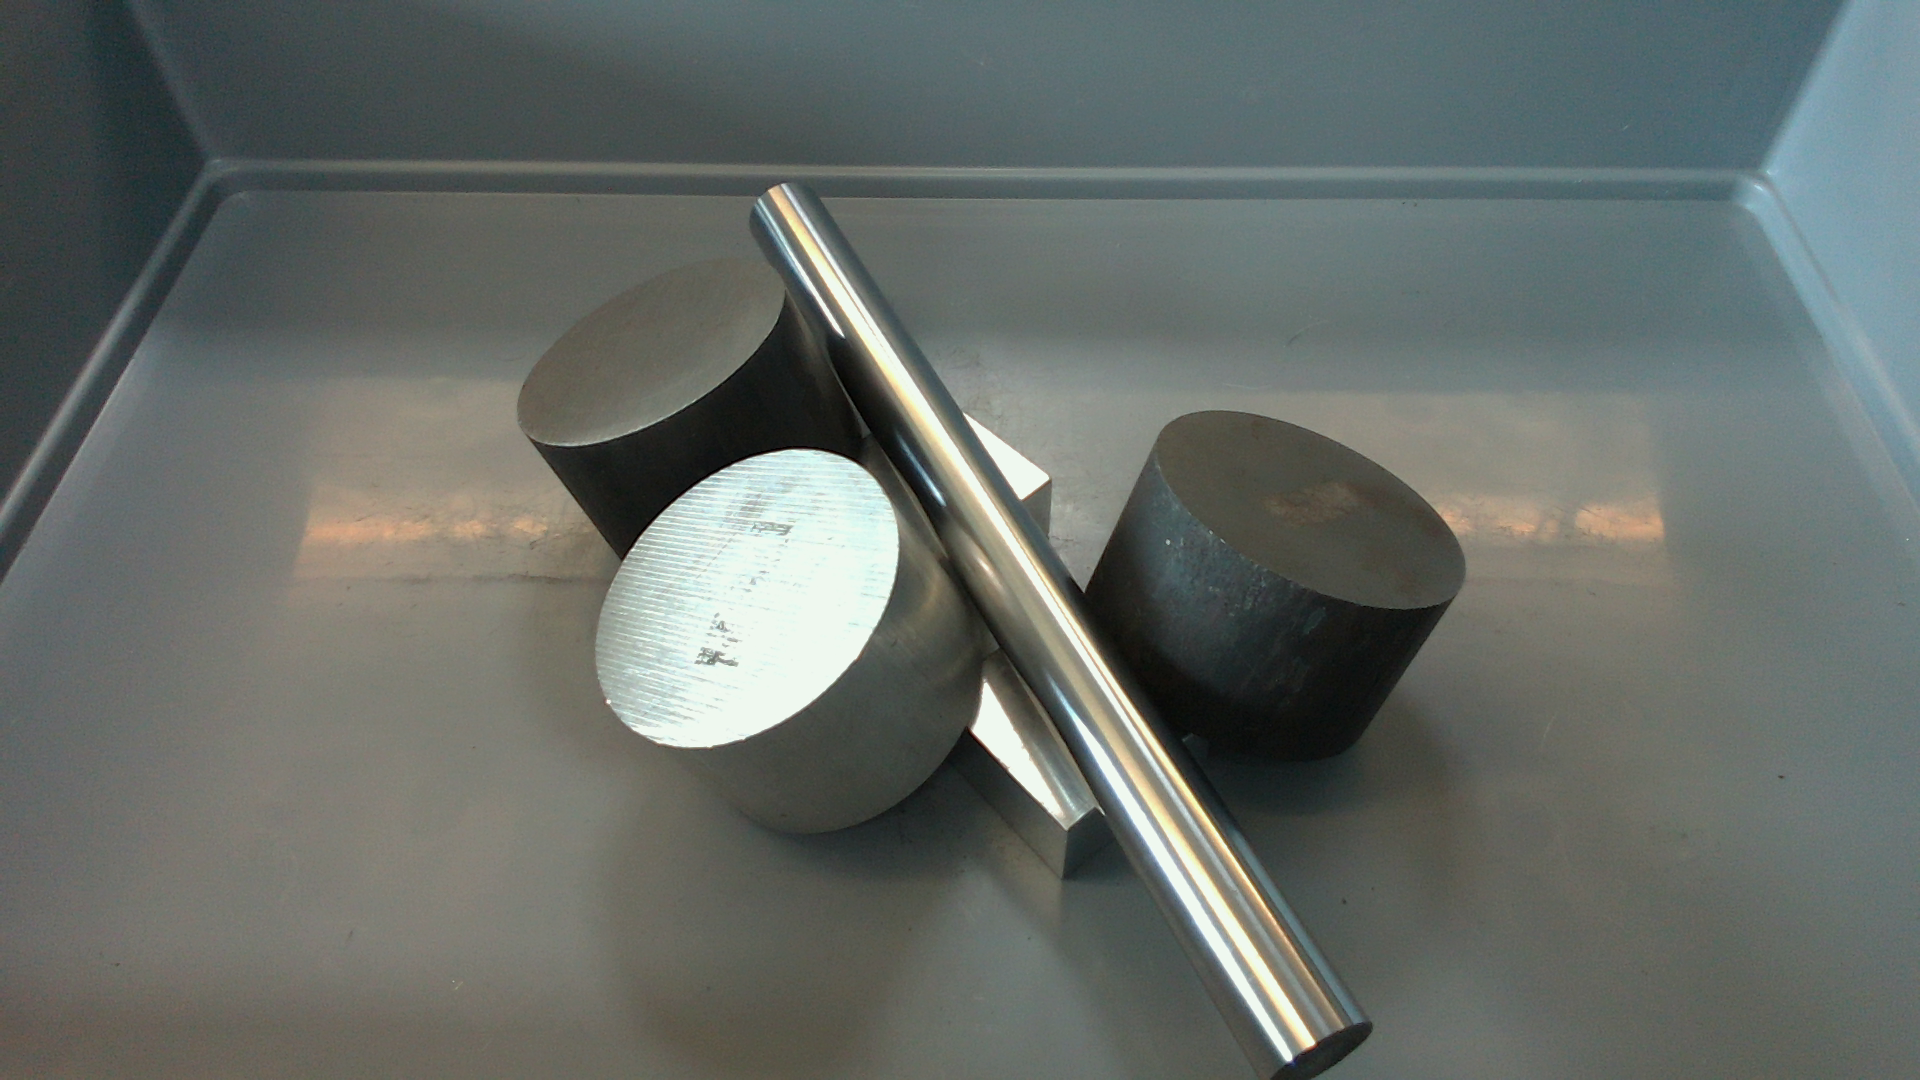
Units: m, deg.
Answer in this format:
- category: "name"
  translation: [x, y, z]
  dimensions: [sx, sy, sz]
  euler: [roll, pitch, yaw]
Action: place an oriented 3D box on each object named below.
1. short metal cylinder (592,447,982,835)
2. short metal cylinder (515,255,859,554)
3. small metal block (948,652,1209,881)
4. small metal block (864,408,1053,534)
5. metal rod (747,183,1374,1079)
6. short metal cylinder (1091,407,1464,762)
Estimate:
- category: "short metal cylinder"
  translation: [-0.041, 0.024, 0.335]
  dimensions: [0.080, 0.050, 0.080]
  euler: [-14, 52, 18]
- category: "short metal cylinder"
  translation: [-0.075, -0.035, 0.385]
  dimensions: [0.080, 0.050, 0.080]
  euler: [-16, 39, 14]
- category: "small metal block"
  translation: [0.028, 0.048, 0.349]
  dimensions: [0.050, 0.025, 0.050]
  euler: [-33, 57, -25]
- category: "small metal block"
  translation: [-0.009, -0.011, 0.399]
  dimensions: [0.050, 0.025, 0.050]
  euler: [-36, 58, -26]
- category: "metal rod"
  translation: [0.007, -0.002, 0.358]
  dimensions: [0.025, 0.025, 0.299]
  euler: [-20, 52, -16]
- category: "short metal cylinder"
  translation: [0.078, 0.009, 0.349]
  dimensions: [0.080, 0.050, 0.080]
  euler: [15, 33, -10]
